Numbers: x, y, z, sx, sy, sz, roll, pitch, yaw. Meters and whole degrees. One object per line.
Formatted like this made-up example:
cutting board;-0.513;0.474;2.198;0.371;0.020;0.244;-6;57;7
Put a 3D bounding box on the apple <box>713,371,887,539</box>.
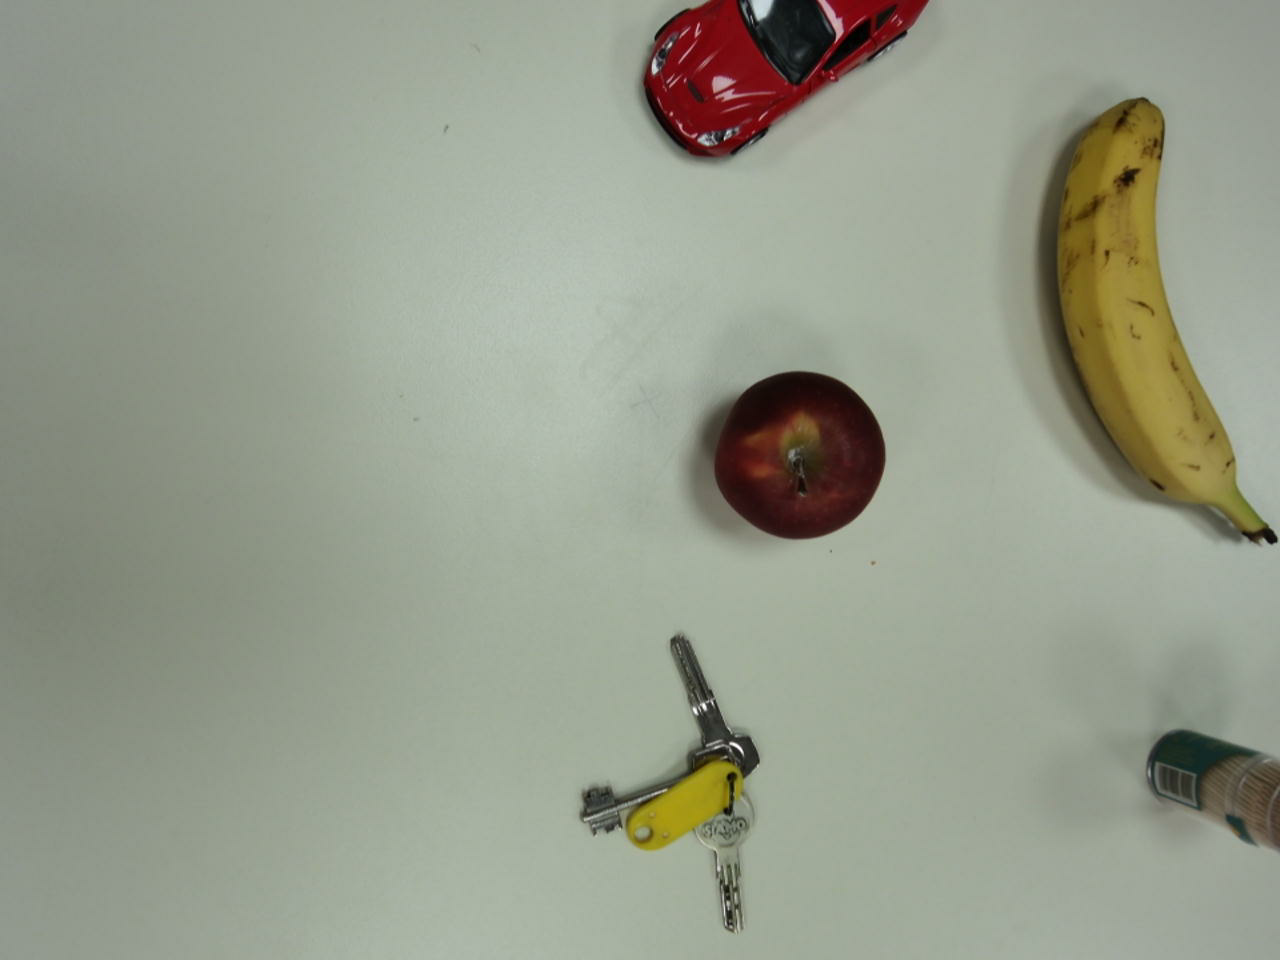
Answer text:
apple;0.066;-0.010;0.415;0.070;0.072;0.070;0;90;-12
